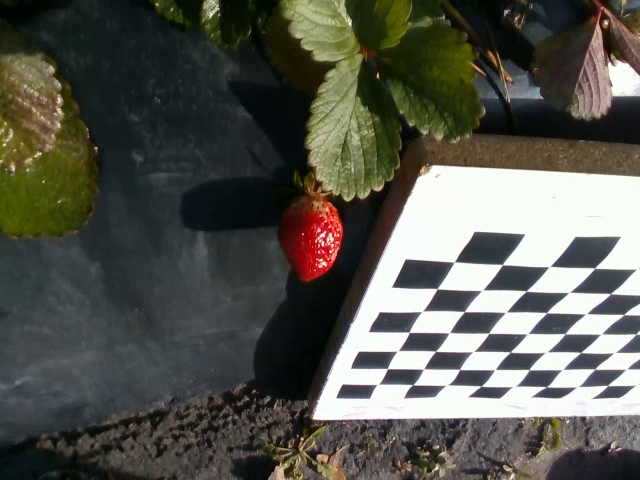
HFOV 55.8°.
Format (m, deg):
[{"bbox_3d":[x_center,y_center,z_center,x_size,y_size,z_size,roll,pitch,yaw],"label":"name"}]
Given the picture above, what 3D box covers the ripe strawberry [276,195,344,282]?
[{"bbox_3d":[-0.004,0.001,0.233,0.034,0.038,0.033,2,2,-9],"label":"ripe strawberry"}]
